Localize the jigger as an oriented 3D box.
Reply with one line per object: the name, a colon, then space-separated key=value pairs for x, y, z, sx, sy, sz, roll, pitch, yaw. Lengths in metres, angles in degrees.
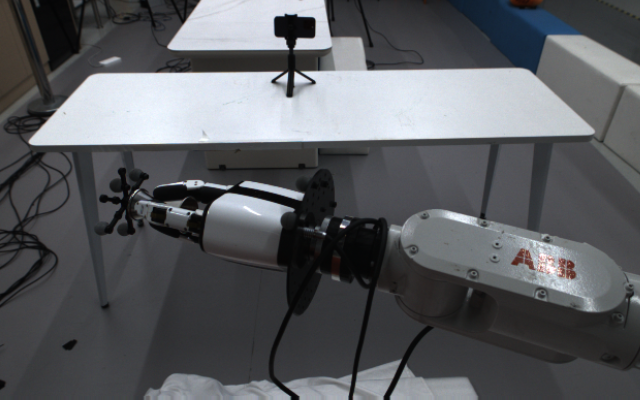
jigger: x=-0.181 y=0.008 z=0.567 sx=0.071 sy=0.043 sz=0.043 roll=10 pitch=35 yaw=16
